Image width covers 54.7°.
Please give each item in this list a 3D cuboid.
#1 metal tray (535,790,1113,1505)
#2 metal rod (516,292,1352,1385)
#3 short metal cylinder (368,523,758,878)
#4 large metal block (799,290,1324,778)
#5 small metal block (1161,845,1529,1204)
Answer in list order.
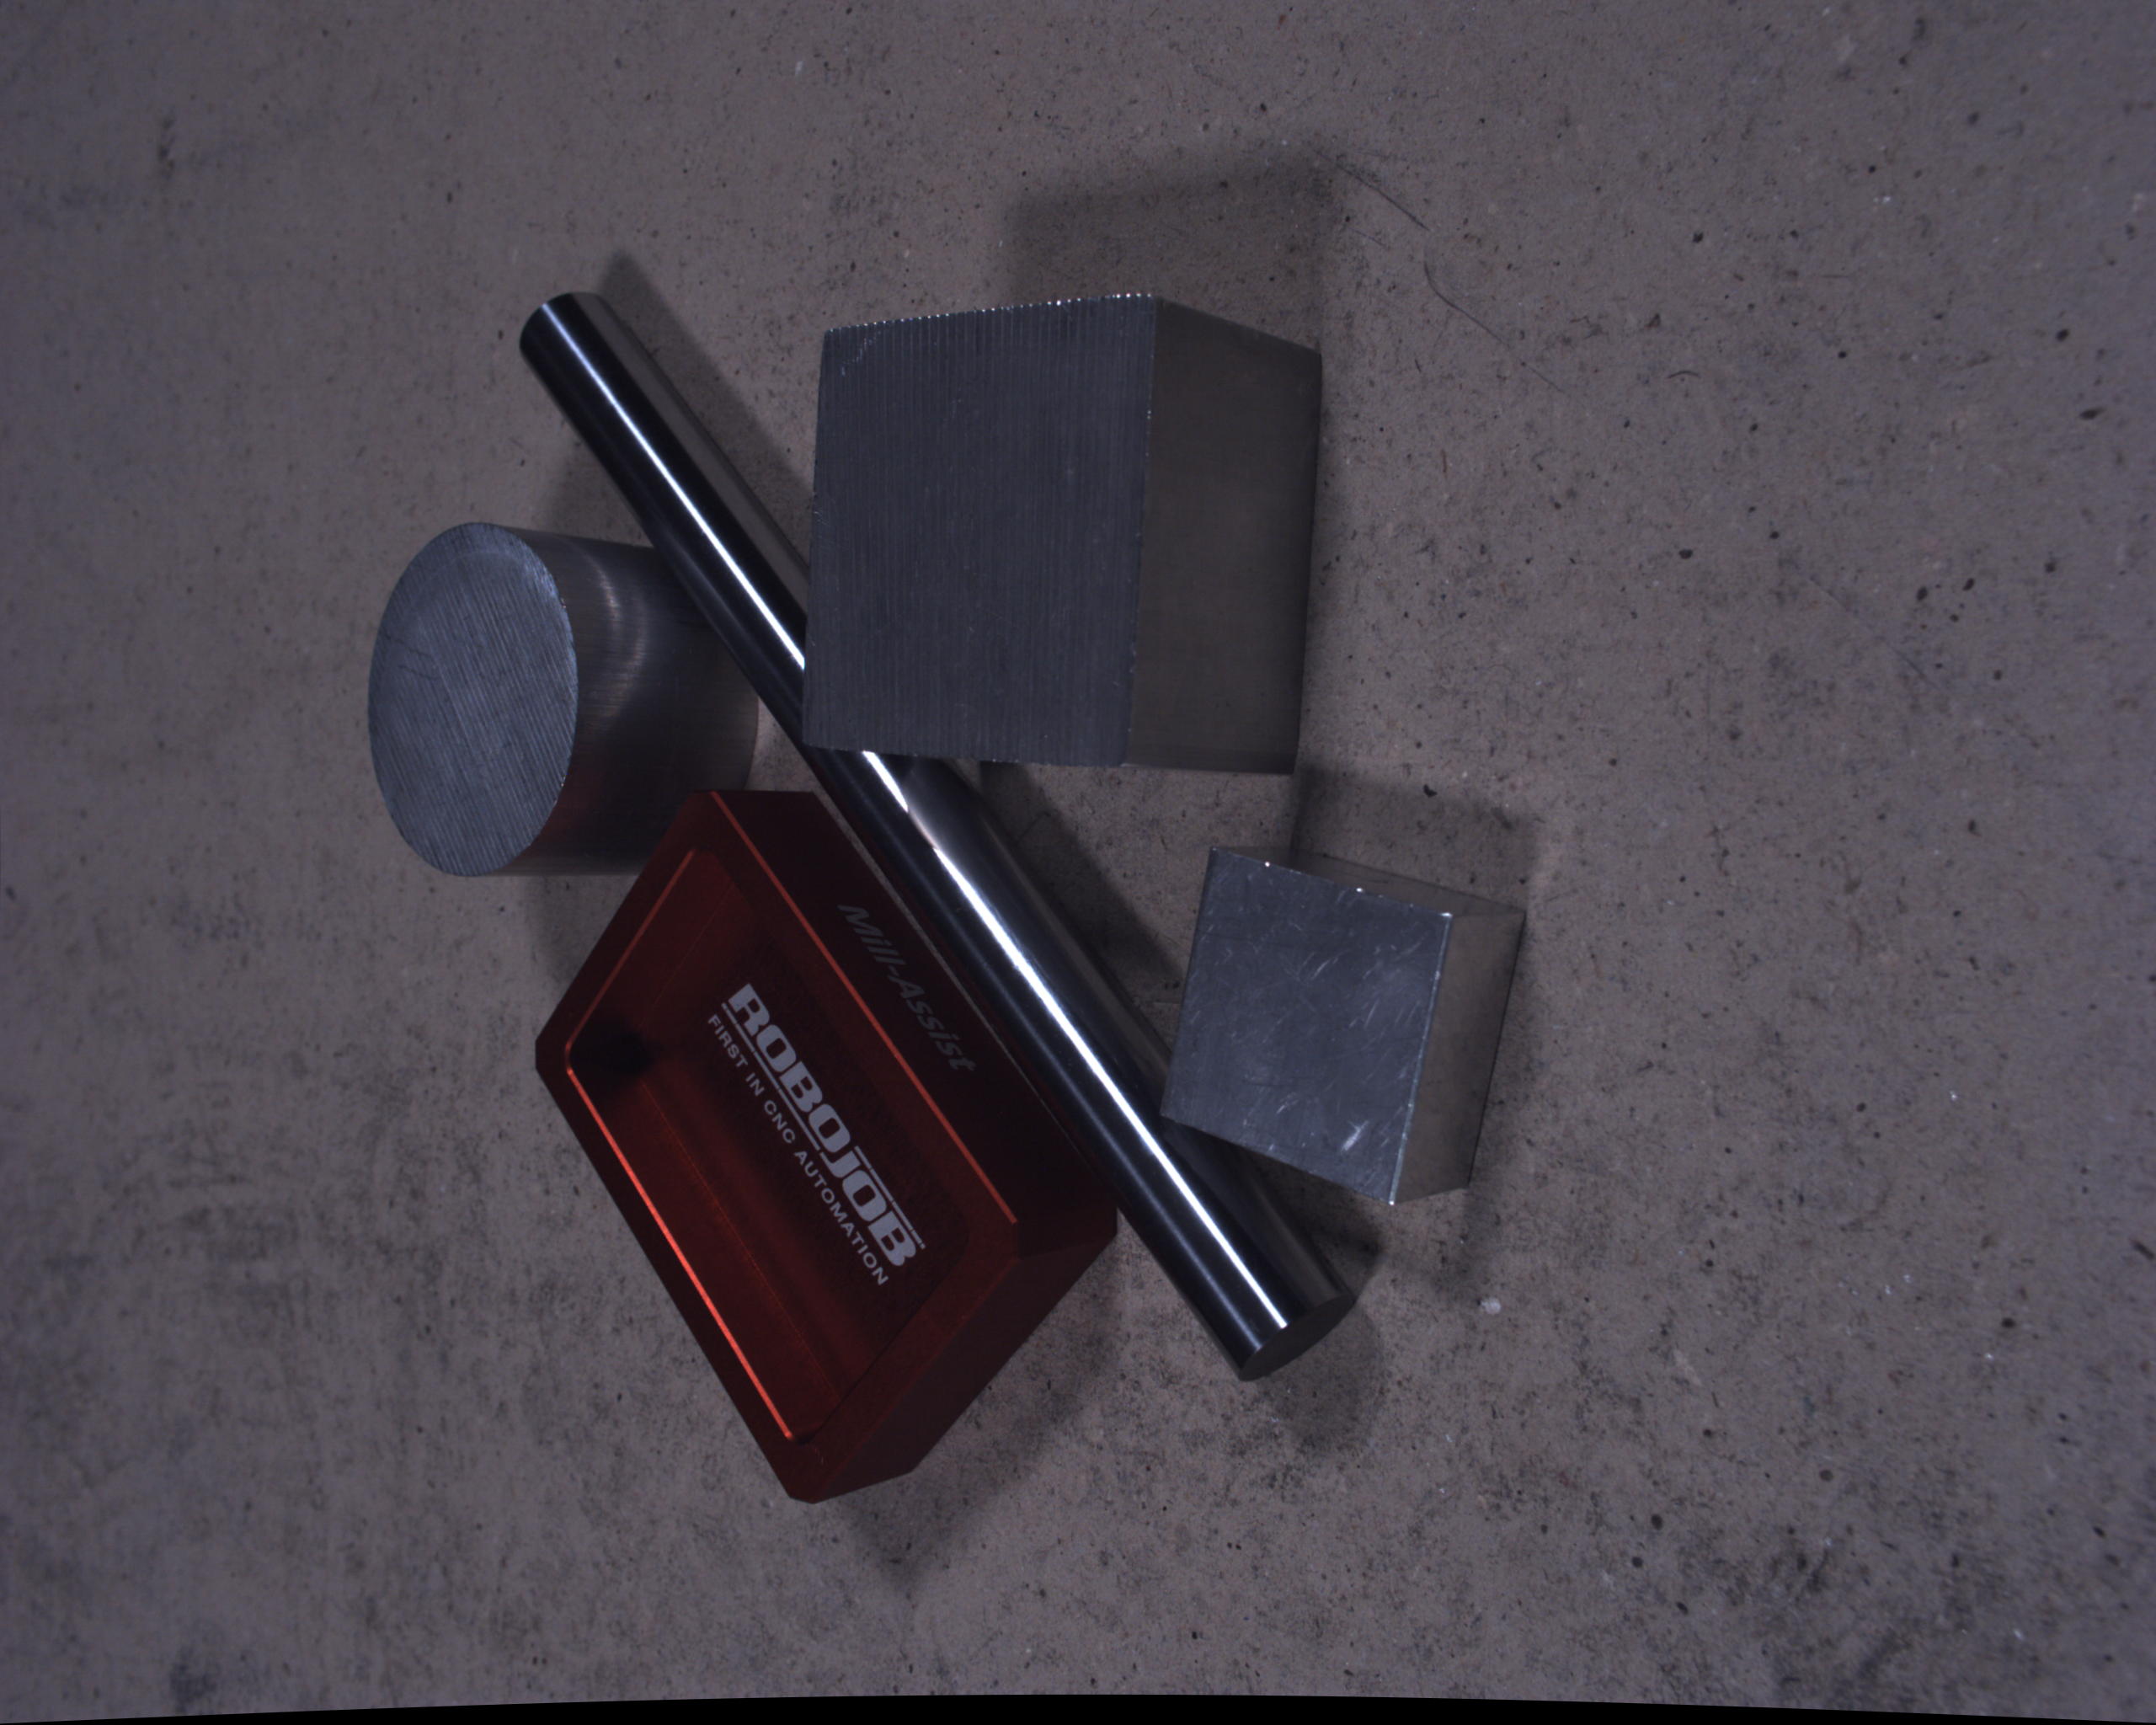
[{"bbox_3d":[-0.060,0.058,0.450,0.130,0.030,0.090,52,120,27],"label":"metal tray"},{"bbox_3d":[-0.043,-0.021,0.439,0.025,0.025,0.300,-52,60,27],"label":"metal rod"},{"bbox_3d":[-0.121,-0.036,0.487,0.080,0.050,0.079,0,90,39],"label":"short metal cylinder"},{"bbox_3d":[-0.004,-0.058,0.392,0.080,0.050,0.079,6,94,39],"label":"large metal block"},{"bbox_3d":[0.046,0.027,0.367,0.050,0.025,0.050,17,101,38],"label":"small metal block"}]
